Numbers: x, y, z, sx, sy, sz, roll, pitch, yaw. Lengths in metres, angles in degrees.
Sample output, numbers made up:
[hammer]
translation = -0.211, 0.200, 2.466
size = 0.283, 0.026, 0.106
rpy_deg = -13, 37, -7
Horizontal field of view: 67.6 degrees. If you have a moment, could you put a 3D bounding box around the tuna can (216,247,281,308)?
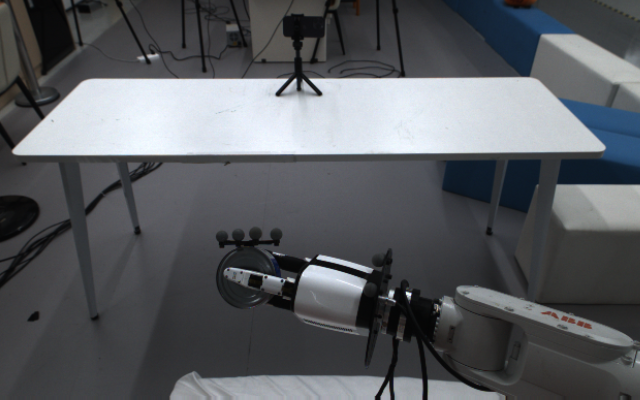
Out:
[tuna can]
translation = -0.097, 0.112, 0.673
size = 0.085, 0.085, 0.034
rpy_deg = 9, -6, 10
